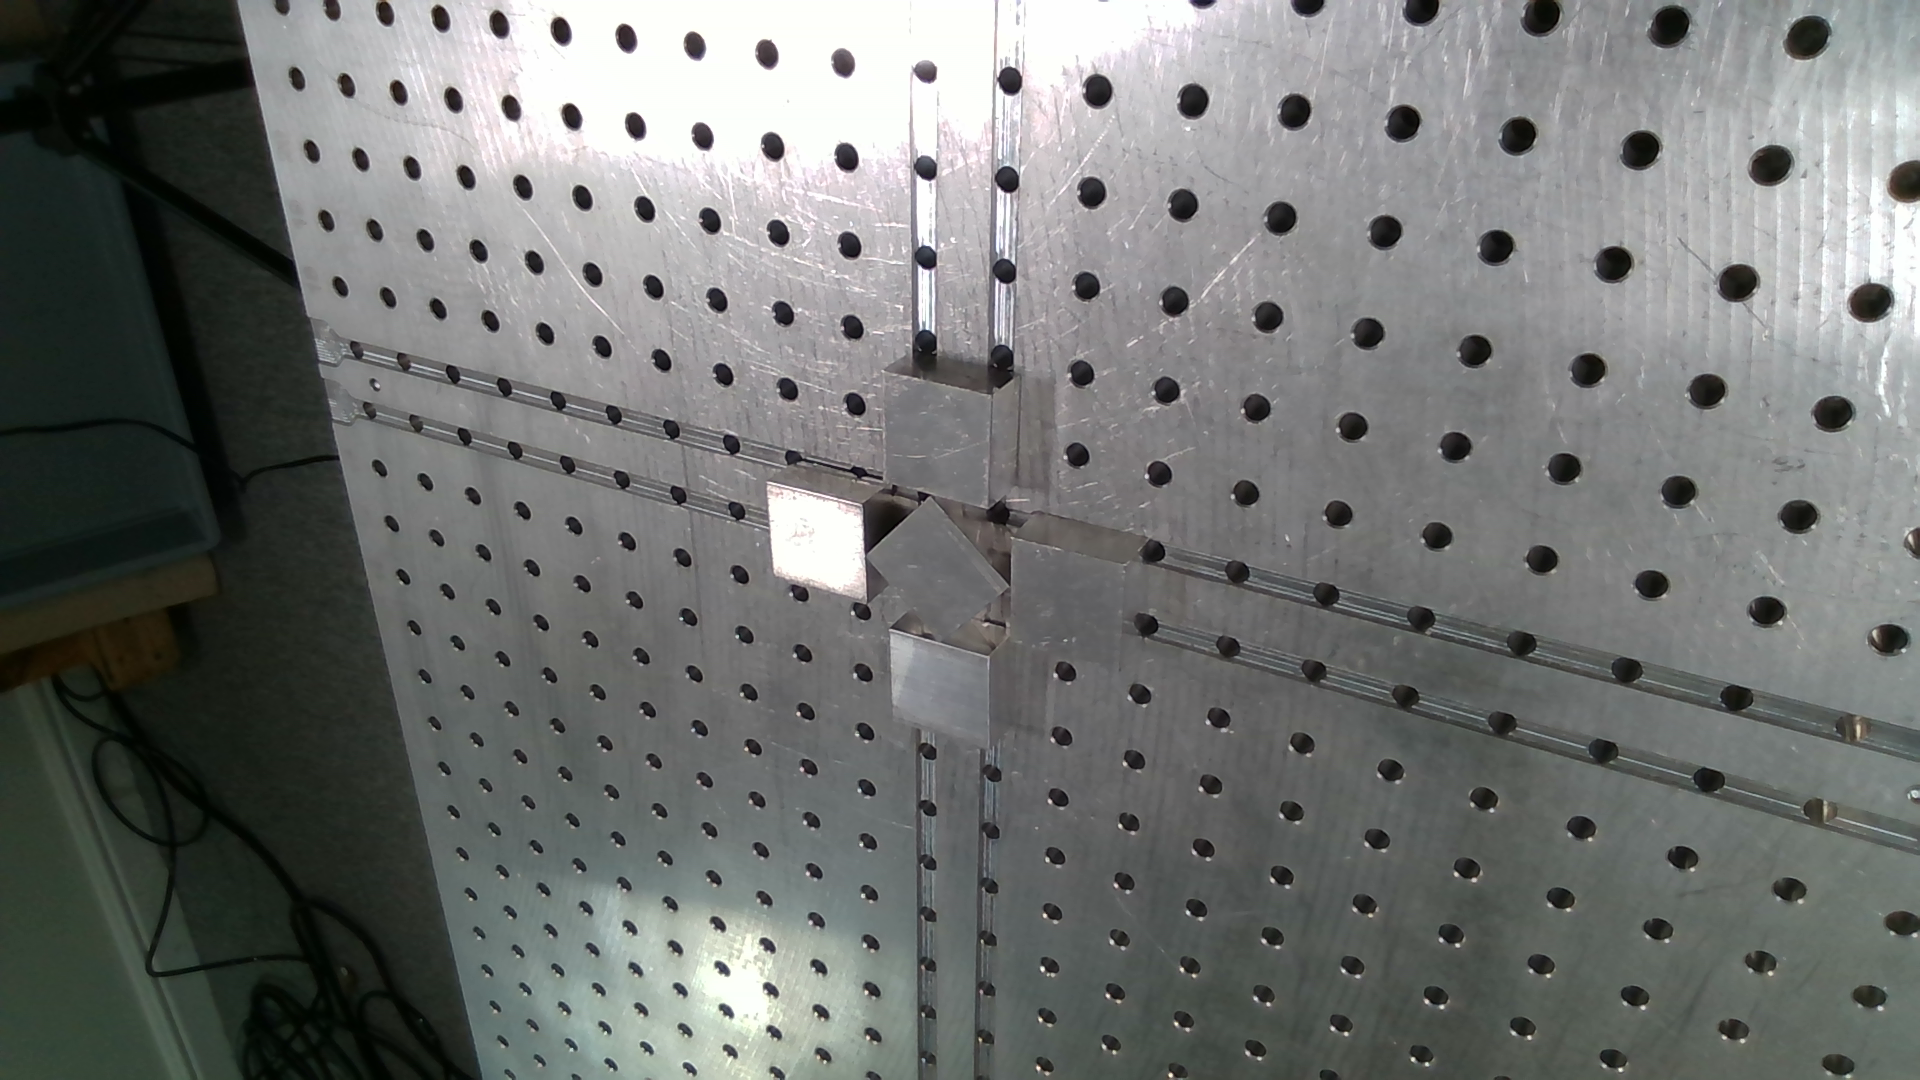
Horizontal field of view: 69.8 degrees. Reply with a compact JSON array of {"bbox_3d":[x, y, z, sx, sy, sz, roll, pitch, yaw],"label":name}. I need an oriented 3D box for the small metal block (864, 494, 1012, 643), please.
[{"bbox_3d":[-0.005,0.008,0.590,0.050,0.025,0.050,49,129,-1],"label":"small metal block"}]

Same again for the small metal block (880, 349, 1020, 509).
[{"bbox_3d":[-0.004,-0.046,0.560,0.050,0.025,0.050,15,122,24],"label":"small metal block"}]

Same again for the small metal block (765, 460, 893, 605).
[{"bbox_3d":[-0.058,-0.004,0.616,0.050,0.025,0.050,14,122,25],"label":"small metal block"}]

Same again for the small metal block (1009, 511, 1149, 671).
[{"bbox_3d":[0.048,0.020,0.565,0.050,0.025,0.050,14,122,25],"label":"small metal block"}]

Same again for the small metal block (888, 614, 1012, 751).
[{"bbox_3d":[-0.003,0.061,0.618,0.050,0.025,0.050,14,122,25],"label":"small metal block"}]
